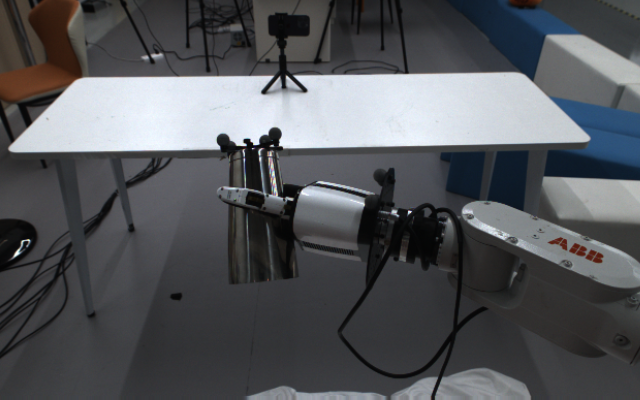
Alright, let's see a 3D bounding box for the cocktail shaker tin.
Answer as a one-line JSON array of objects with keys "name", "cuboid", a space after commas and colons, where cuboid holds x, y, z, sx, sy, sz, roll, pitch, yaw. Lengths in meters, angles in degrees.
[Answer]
[{"name": "cocktail shaker tin", "cuboid": [-0.082, 0.022, 0.643, 0.093, 0.170, 0.093, -6, -7, -1]}]
